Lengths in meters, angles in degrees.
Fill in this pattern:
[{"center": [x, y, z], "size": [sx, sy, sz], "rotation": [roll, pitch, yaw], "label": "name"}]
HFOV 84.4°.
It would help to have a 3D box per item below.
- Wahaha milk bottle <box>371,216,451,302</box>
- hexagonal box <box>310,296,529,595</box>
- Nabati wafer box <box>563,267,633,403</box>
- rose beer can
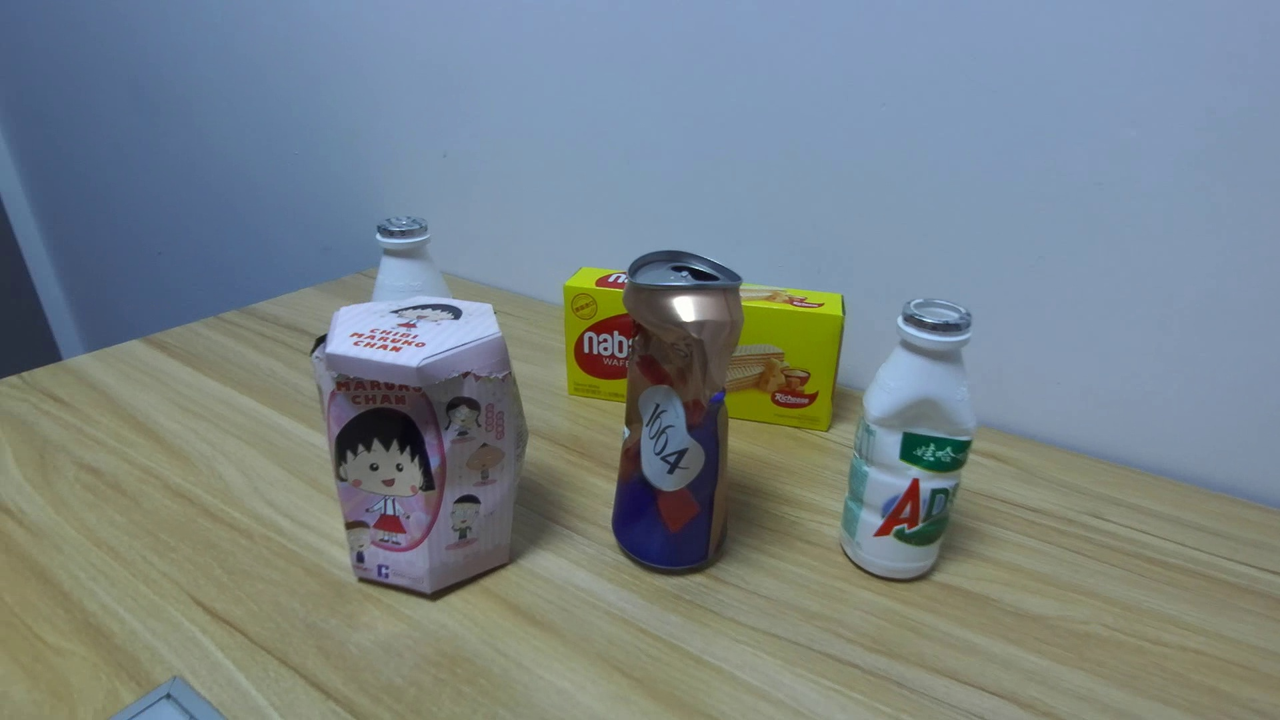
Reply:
[{"center": [-0.149, -0.020, 0.477], "size": [0.053, 0.147, 0.053], "rotation": [-6, 14, 2], "label": "Wahaha milk bottle"}, {"center": [-0.113, 0.042, 0.371], "size": [0.090, 0.134, 0.090], "rotation": [-13, 29, -33], "label": "hexagonal box"}, {"center": [0.046, -0.010, 0.530], "size": [0.202, 0.093, 0.042], "rotation": [8, 26, 14], "label": "Nabati wafer box"}, {"center": [0.018, 0.030, 0.367], "size": [0.073, 0.162, 0.068], "rotation": [19, 30, 29], "label": "rose beer can"}]
